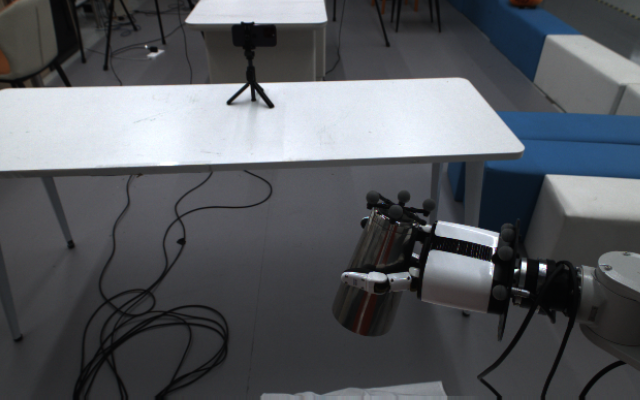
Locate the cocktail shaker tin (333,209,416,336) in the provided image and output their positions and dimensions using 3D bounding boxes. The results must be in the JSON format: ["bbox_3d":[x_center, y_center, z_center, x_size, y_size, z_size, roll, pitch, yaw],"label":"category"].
[{"bbox_3d":[0.084,0.091,0.673,0.093,0.170,0.093,11,24,-5],"label":"cocktail shaker tin"}]
